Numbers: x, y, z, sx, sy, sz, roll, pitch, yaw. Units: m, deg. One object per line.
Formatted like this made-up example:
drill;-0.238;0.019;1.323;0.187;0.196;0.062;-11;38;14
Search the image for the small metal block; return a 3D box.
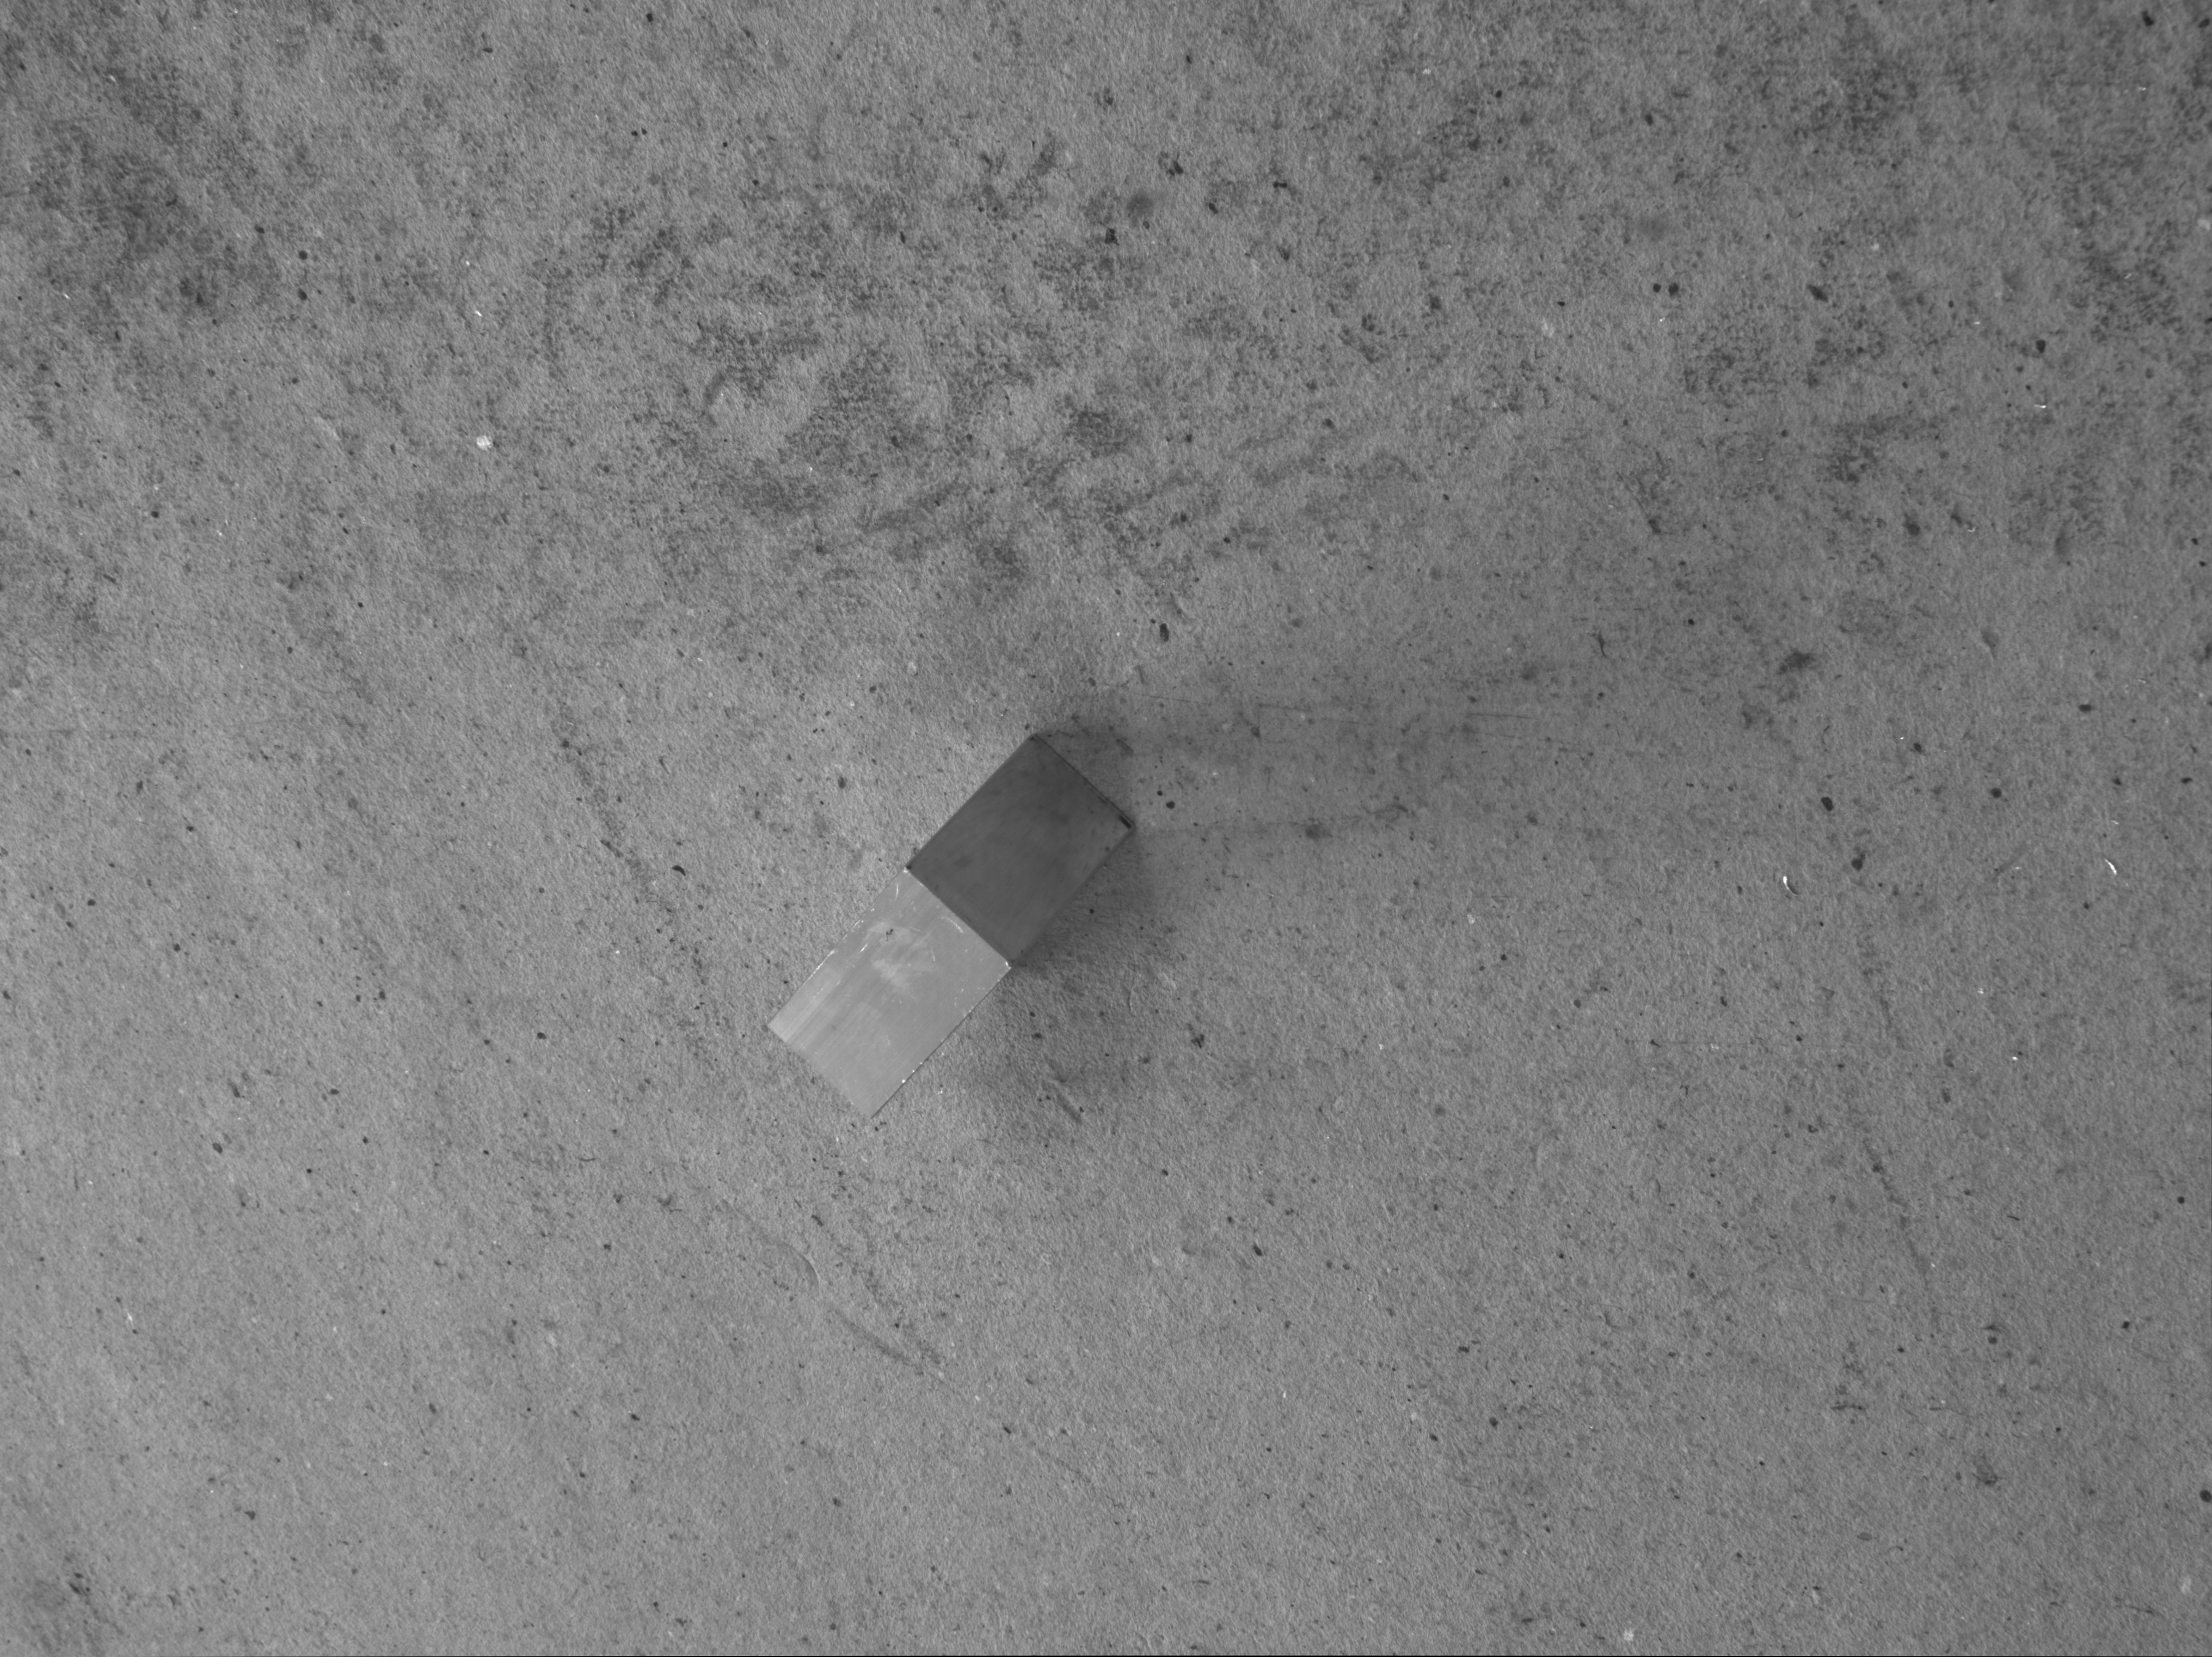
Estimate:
small metal block;-0.027;0.017;0.653;0.025;0.050;0.050;42;129;-1
